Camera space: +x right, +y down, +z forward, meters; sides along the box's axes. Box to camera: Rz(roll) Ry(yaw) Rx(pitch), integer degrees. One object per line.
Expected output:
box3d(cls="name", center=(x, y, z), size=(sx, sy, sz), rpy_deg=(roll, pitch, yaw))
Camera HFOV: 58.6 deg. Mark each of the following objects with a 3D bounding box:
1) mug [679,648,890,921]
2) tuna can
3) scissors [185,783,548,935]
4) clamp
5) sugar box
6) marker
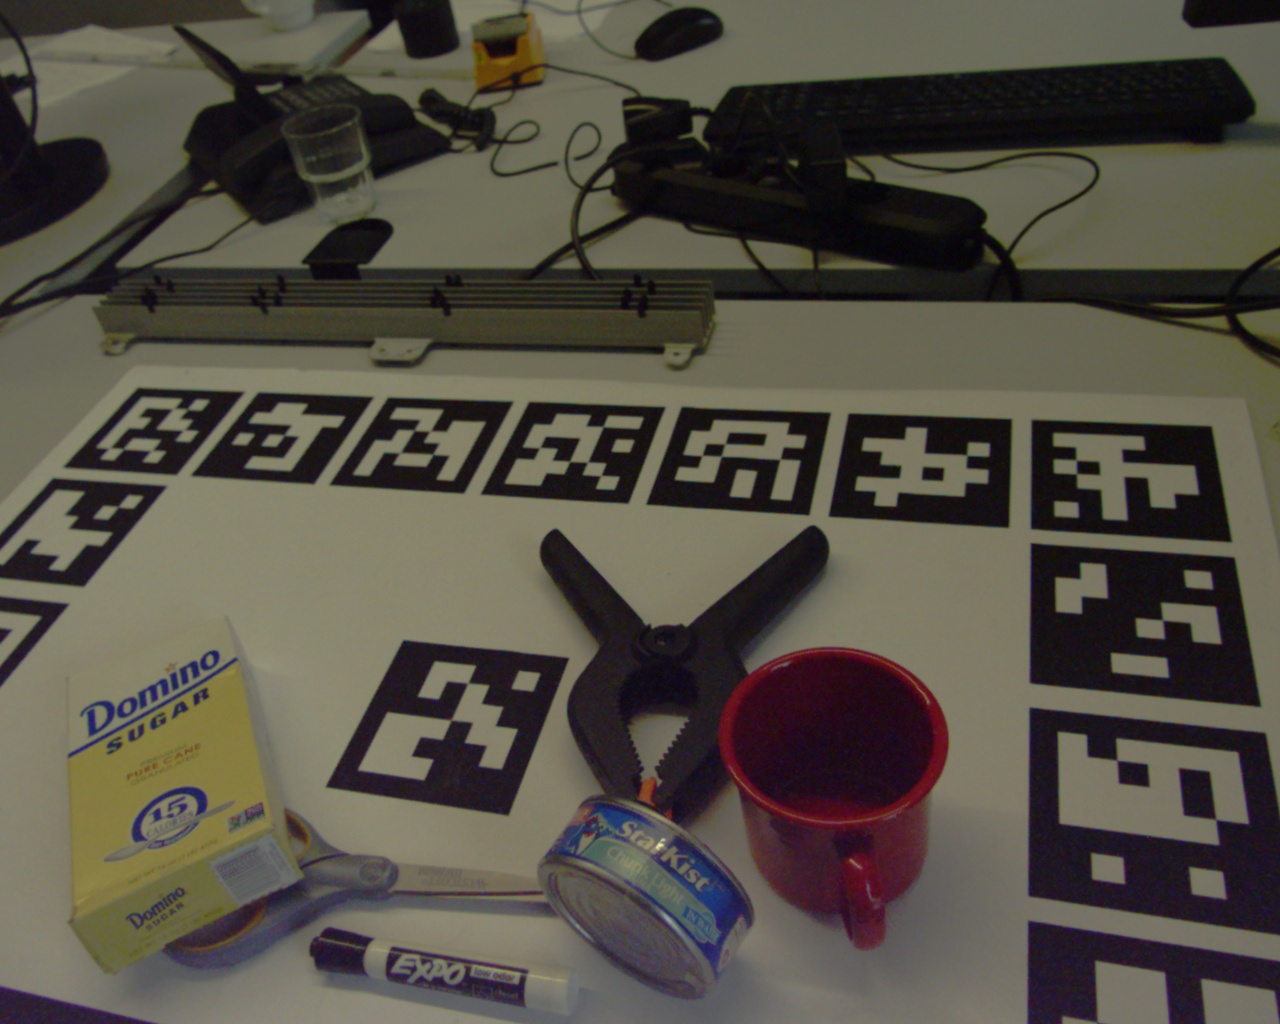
box3d(cls="mug", center=(0.071, 0.131, 0.521), size=(0.093, 0.081, 0.118), rpy_deg=(-15, 39, -4))
box3d(cls="tuna can", center=(0.001, 0.160, 0.498), size=(0.087, 0.085, 0.033), rpy_deg=(17, 49, 28))
box3d(cls="scissors", center=(-0.136, 0.168, 0.566), size=(0.203, 0.016, 0.088), rpy_deg=(-3, 39, 8))
box3d(cls="clamp", center=(0.010, 0.085, 0.629), size=(0.166, 0.036, 0.203), rpy_deg=(-4, 44, 8))
box3d(cls="sugar box", center=(-0.235, 0.134, 0.602), size=(0.092, 0.045, 0.178), rpy_deg=(-22, 37, -11))
box3d(cls="marker", center=(-0.101, 0.201, 0.526), size=(0.122, 0.019, 0.019), rpy_deg=(1, 44, 15))
